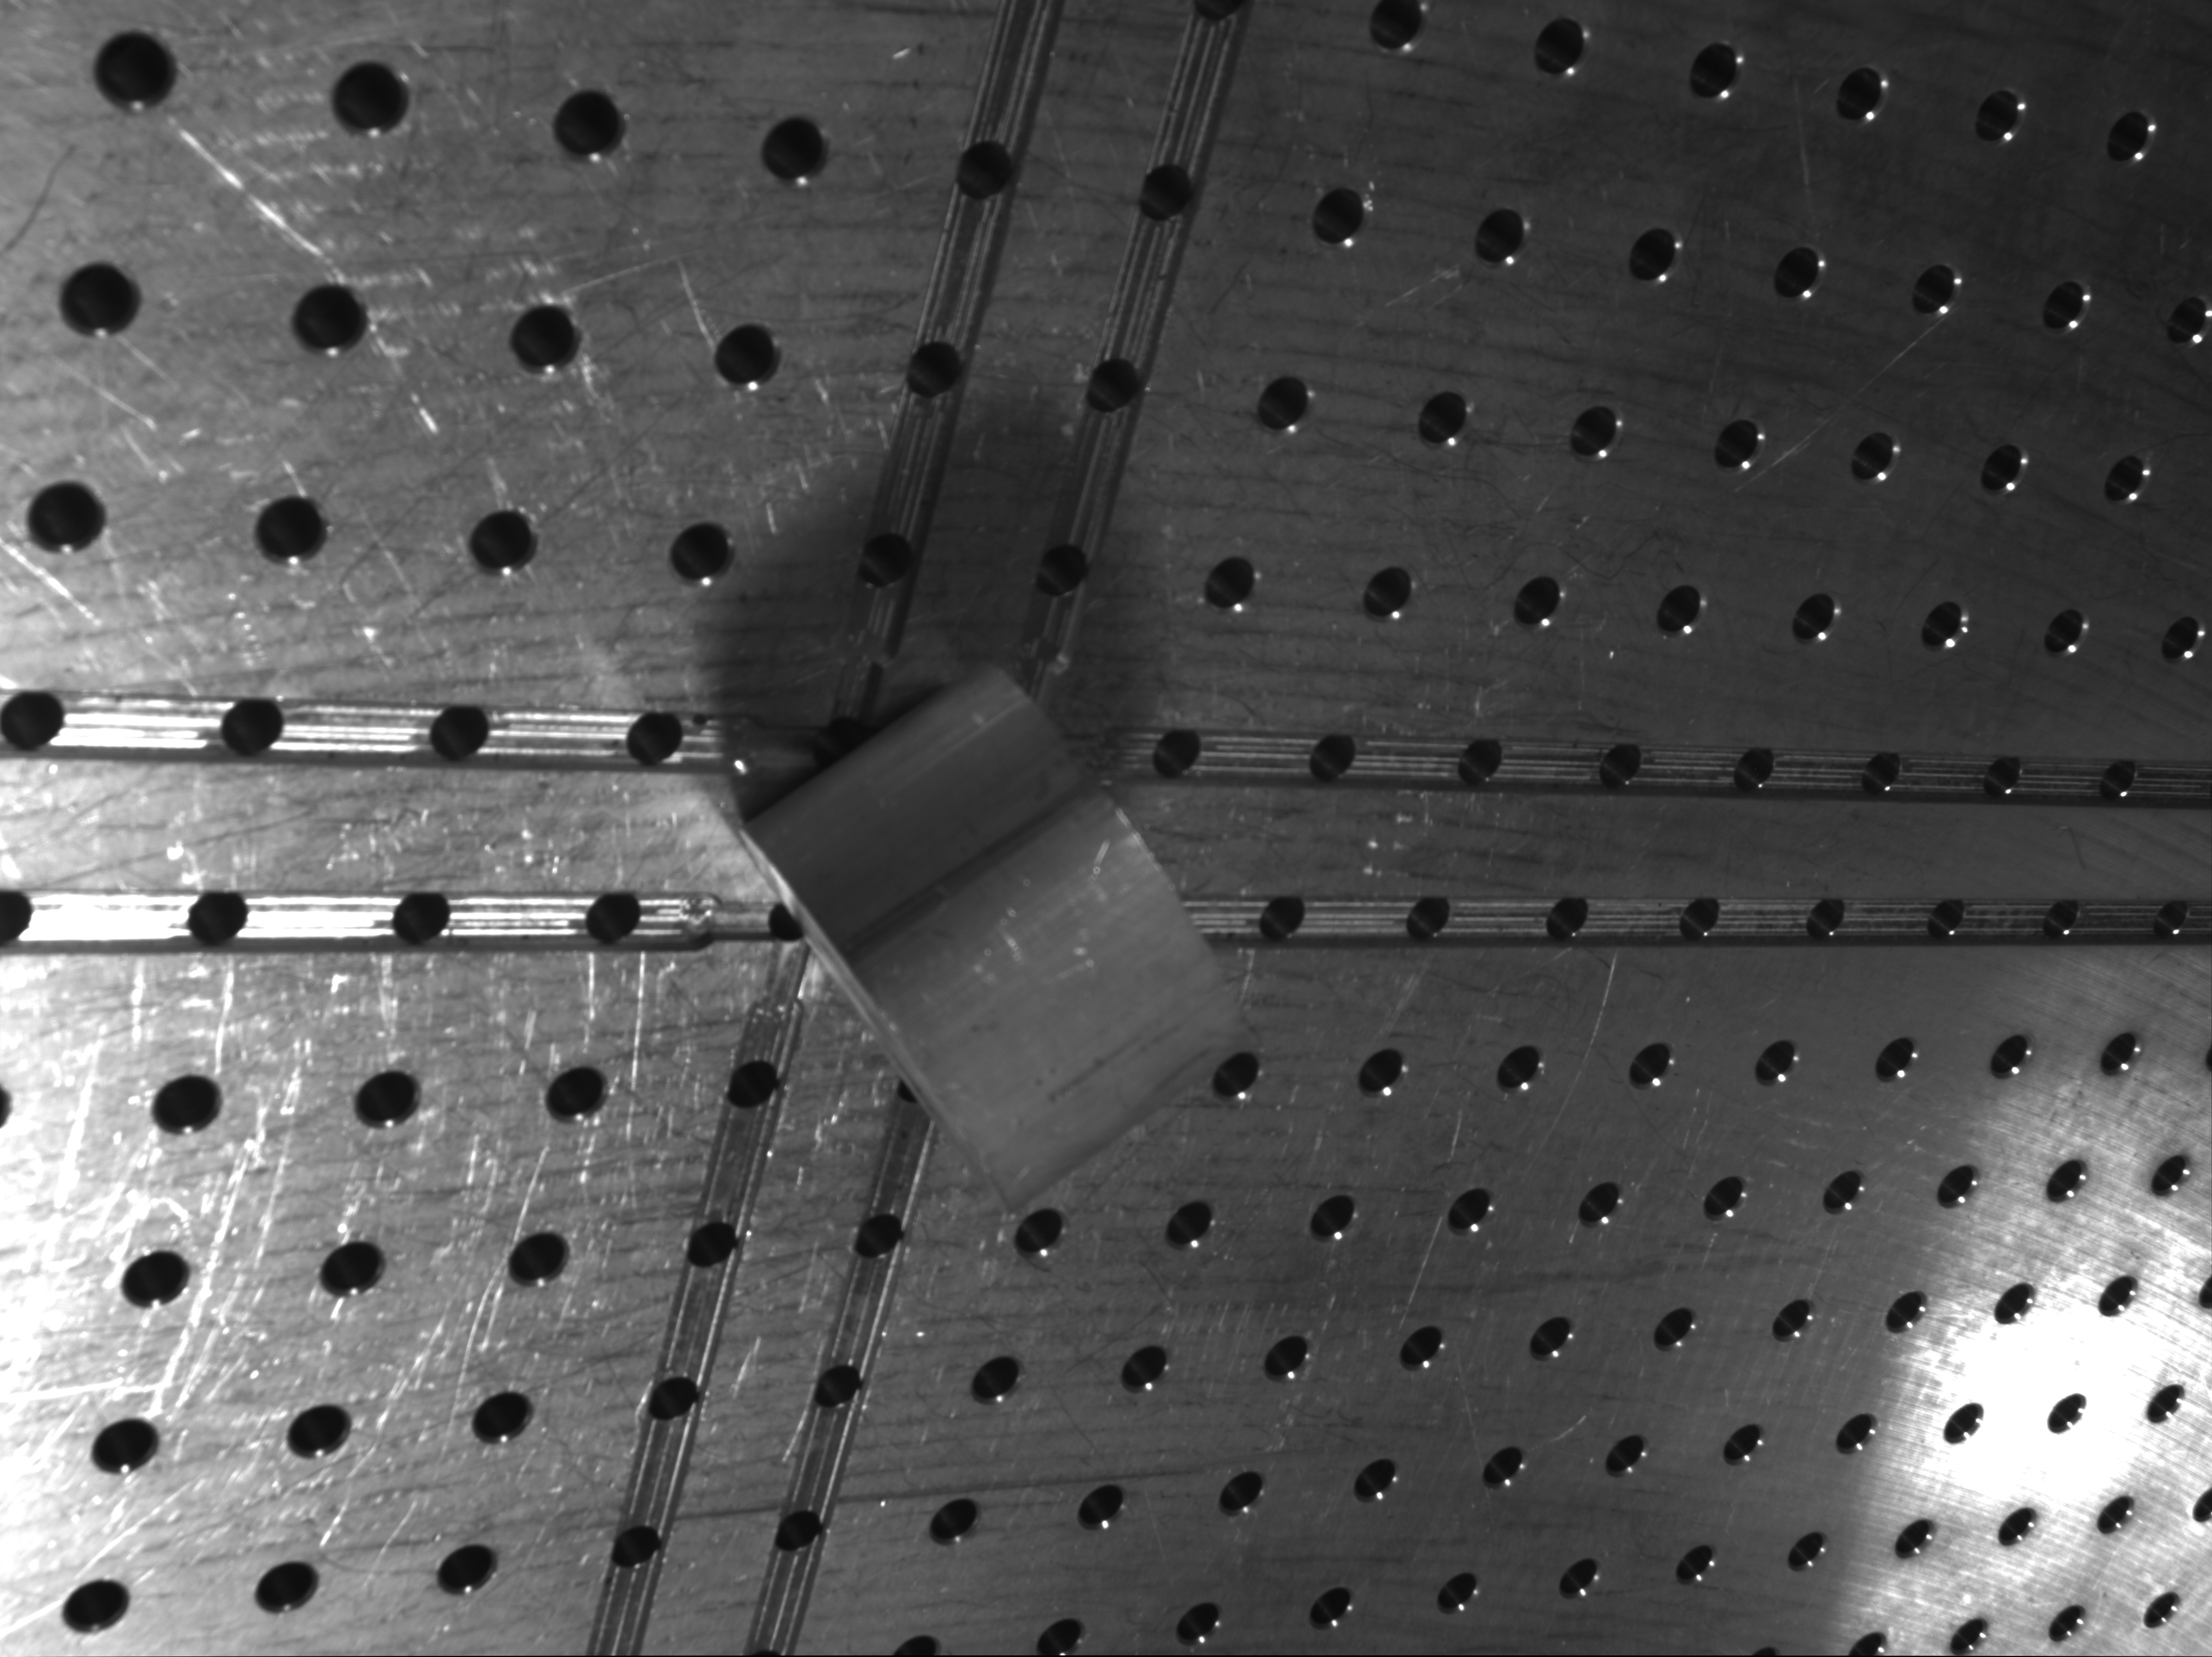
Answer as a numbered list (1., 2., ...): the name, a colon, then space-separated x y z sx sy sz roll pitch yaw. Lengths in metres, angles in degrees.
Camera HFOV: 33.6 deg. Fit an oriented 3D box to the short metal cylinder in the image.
1. short metal cylinder: -0.010 0.020 0.623 0.050 0.080 0.080 -35 130 -7
